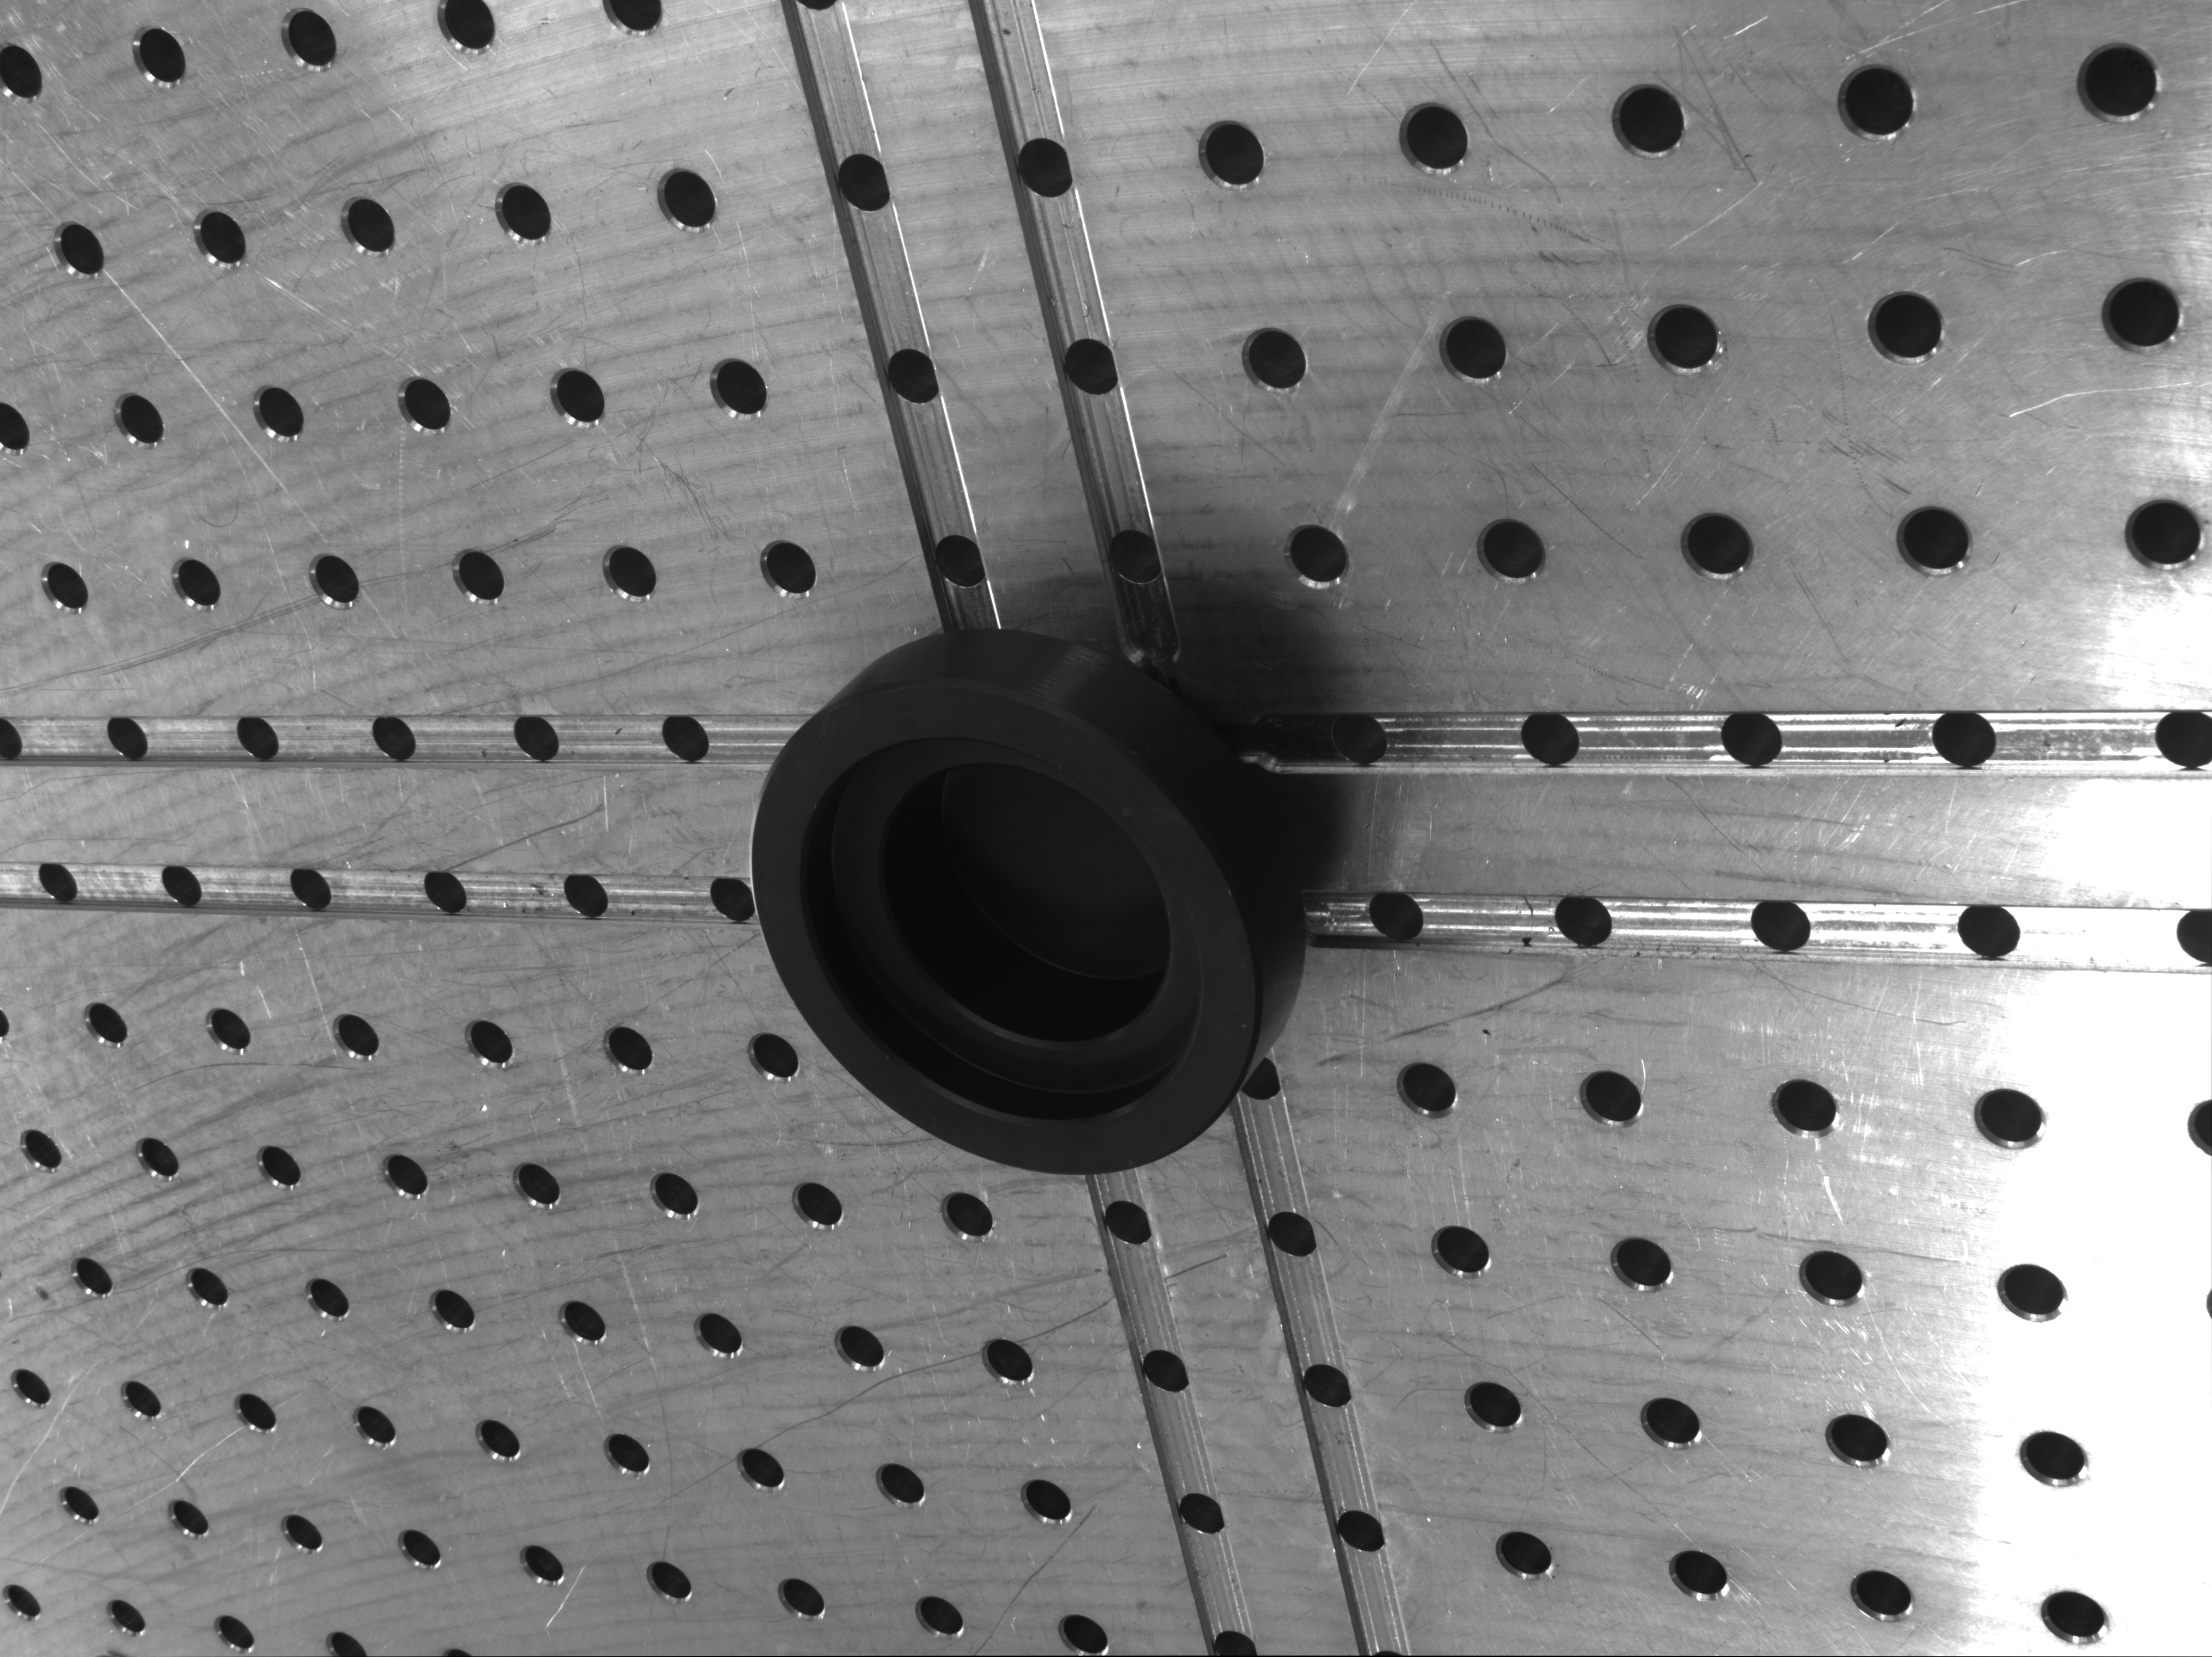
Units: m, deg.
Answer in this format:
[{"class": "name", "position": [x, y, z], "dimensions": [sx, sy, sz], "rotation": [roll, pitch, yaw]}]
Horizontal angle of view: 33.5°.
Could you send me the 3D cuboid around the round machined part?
[{"class": "round machined part", "position": [-0.010, 0.009, 0.645], "dimensions": [0.098, 0.042, 0.098], "rotation": [13, 124, 21]}]
